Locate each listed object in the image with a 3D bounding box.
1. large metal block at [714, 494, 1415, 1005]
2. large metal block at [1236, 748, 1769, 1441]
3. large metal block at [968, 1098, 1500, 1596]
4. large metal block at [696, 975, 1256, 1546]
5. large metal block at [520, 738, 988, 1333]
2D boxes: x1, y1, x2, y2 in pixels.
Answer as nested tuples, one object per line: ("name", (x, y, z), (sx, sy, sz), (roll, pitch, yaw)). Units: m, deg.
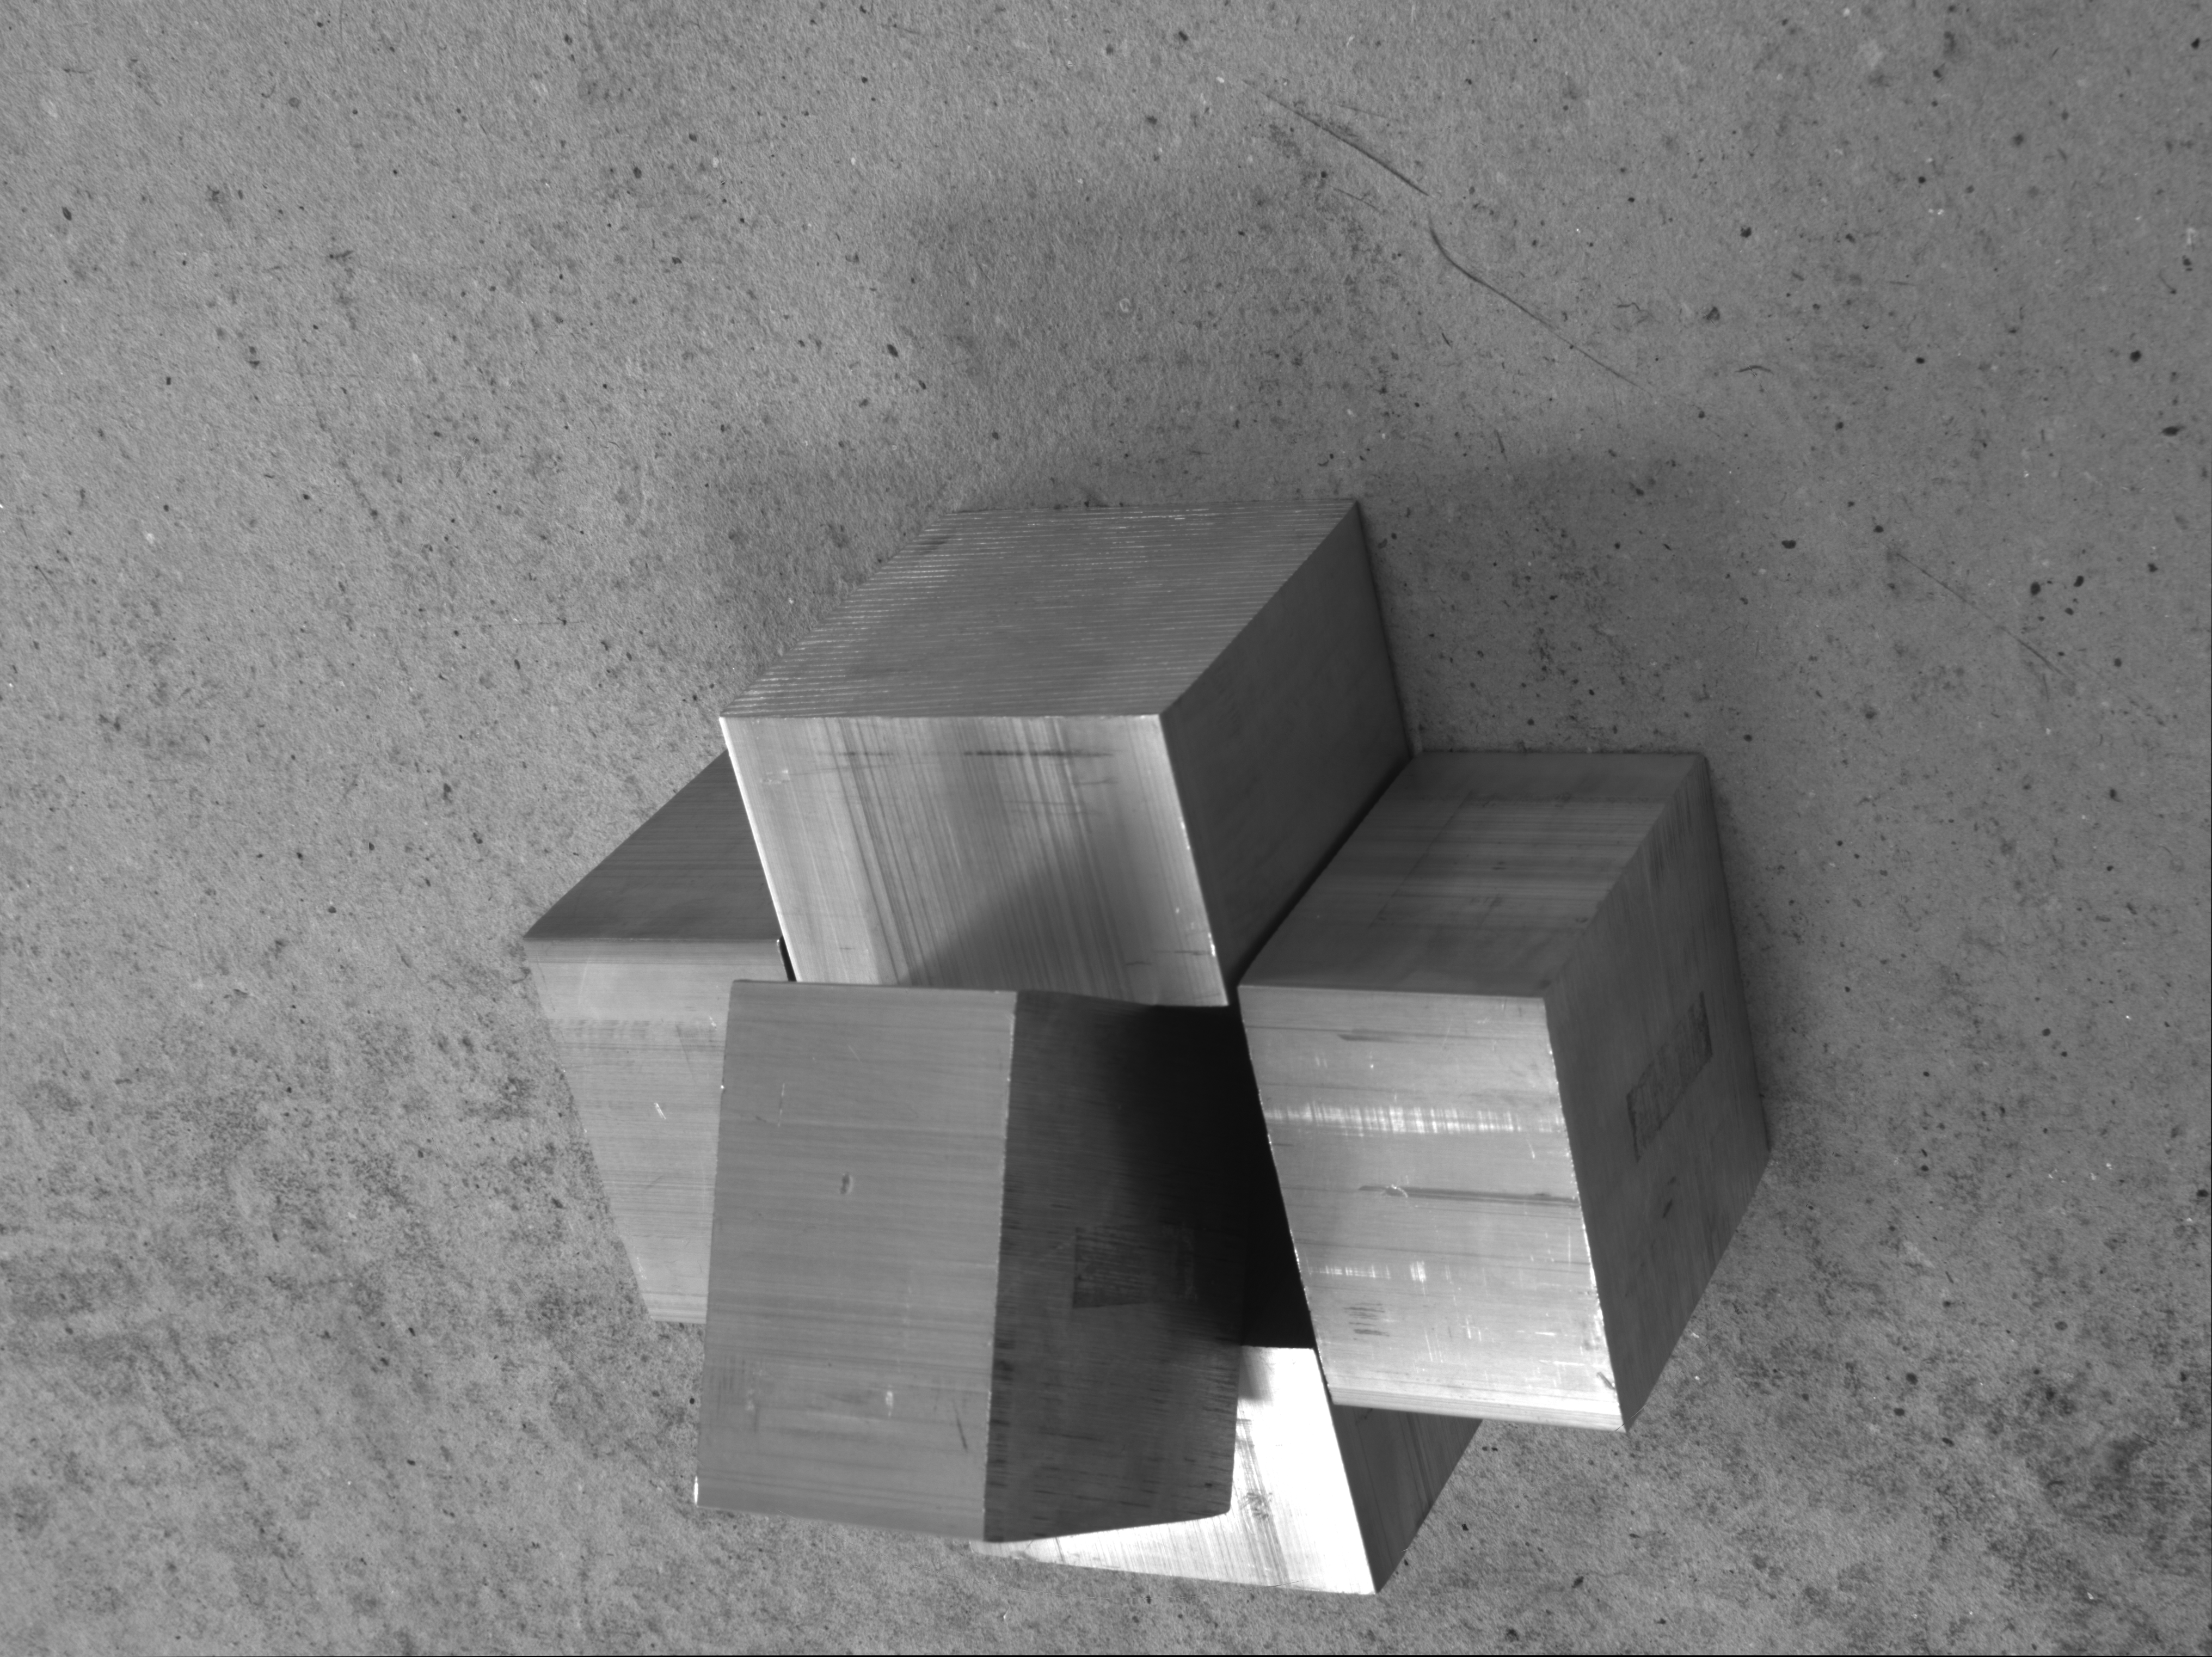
("large metal block", (-0.004, -0.014, 0.601), (0.080, 0.080, 0.050), (1, 119, 28))
("large metal block", (0.067, 0.041, 0.596), (0.050, 0.080, 0.080), (1, 119, 28))
("large metal block", (0.022, 0.087, 0.649), (0.080, 0.080, 0.050), (0, 118, 28))
("large metal block", (-0.018, 0.066, 0.573), (0.050, 0.080, 0.080), (1, 84, 28))
("large metal block", (-0.051, 0.035, 0.654), (0.050, 0.080, 0.080), (0, 118, 29))
